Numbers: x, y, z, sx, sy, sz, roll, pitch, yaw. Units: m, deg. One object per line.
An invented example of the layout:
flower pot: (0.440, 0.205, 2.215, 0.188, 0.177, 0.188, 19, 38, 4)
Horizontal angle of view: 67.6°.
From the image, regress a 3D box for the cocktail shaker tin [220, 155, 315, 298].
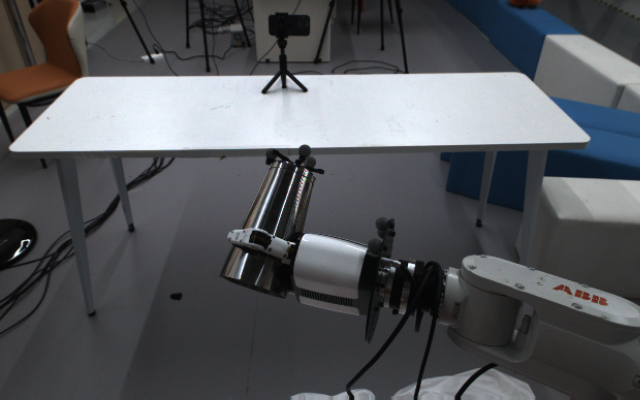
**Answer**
cocktail shaker tin: (-0.065, 0.037, 0.655, 0.093, 0.093, 0.170, 14, 73, 16)
